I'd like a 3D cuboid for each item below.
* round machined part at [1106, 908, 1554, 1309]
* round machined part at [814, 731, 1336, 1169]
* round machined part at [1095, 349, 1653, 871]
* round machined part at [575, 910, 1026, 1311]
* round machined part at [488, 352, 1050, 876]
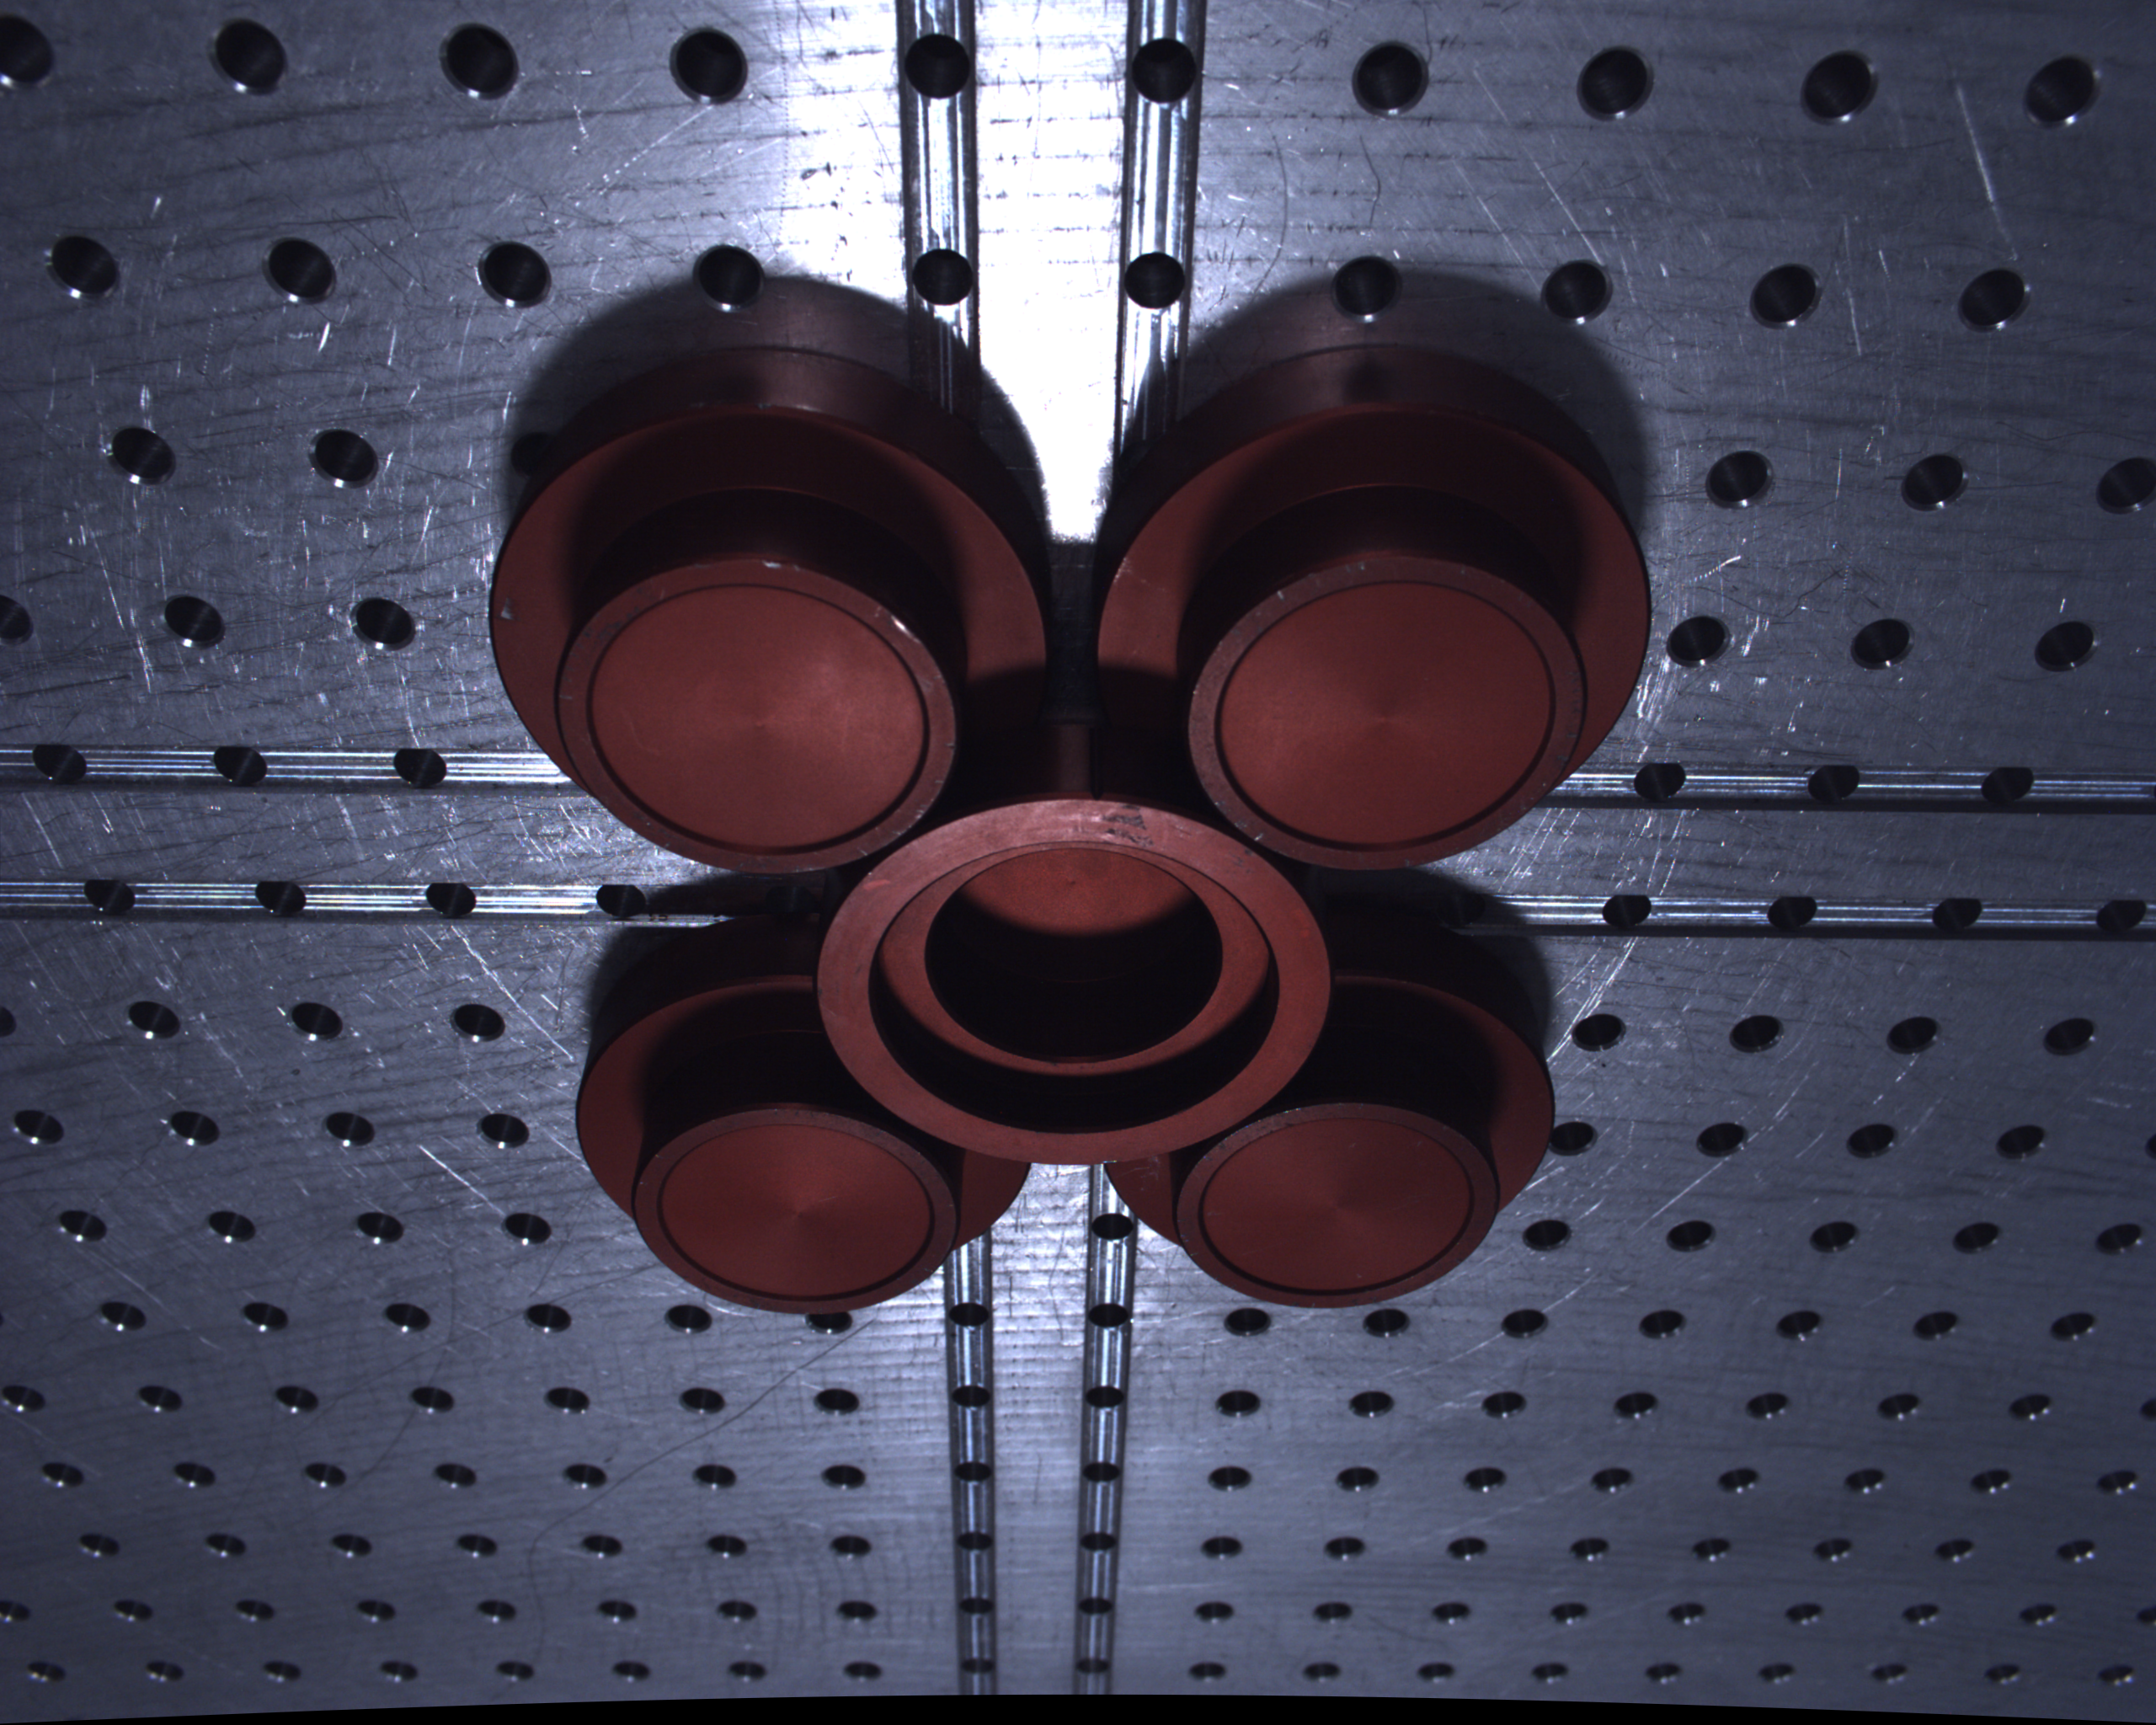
[{"bbox_3d":[0.054,0.059,0.451,0.099,0.042,0.097,-1,130,0],"label":"round machined part"},{"bbox_3d":[-0.001,0.013,0.409,0.099,0.042,0.097,-1,130,0],"label":"round machined part"},{"bbox_3d":[0.052,-0.037,0.369,0.099,0.042,0.097,-1,130,0],"label":"round machined part"},{"bbox_3d":[-0.059,0.060,0.451,0.099,0.042,0.097,-1,130,0],"label":"round machined part"},{"bbox_3d":[-0.054,-0.036,0.368,0.099,0.042,0.097,-1,130,0],"label":"round machined part"}]
